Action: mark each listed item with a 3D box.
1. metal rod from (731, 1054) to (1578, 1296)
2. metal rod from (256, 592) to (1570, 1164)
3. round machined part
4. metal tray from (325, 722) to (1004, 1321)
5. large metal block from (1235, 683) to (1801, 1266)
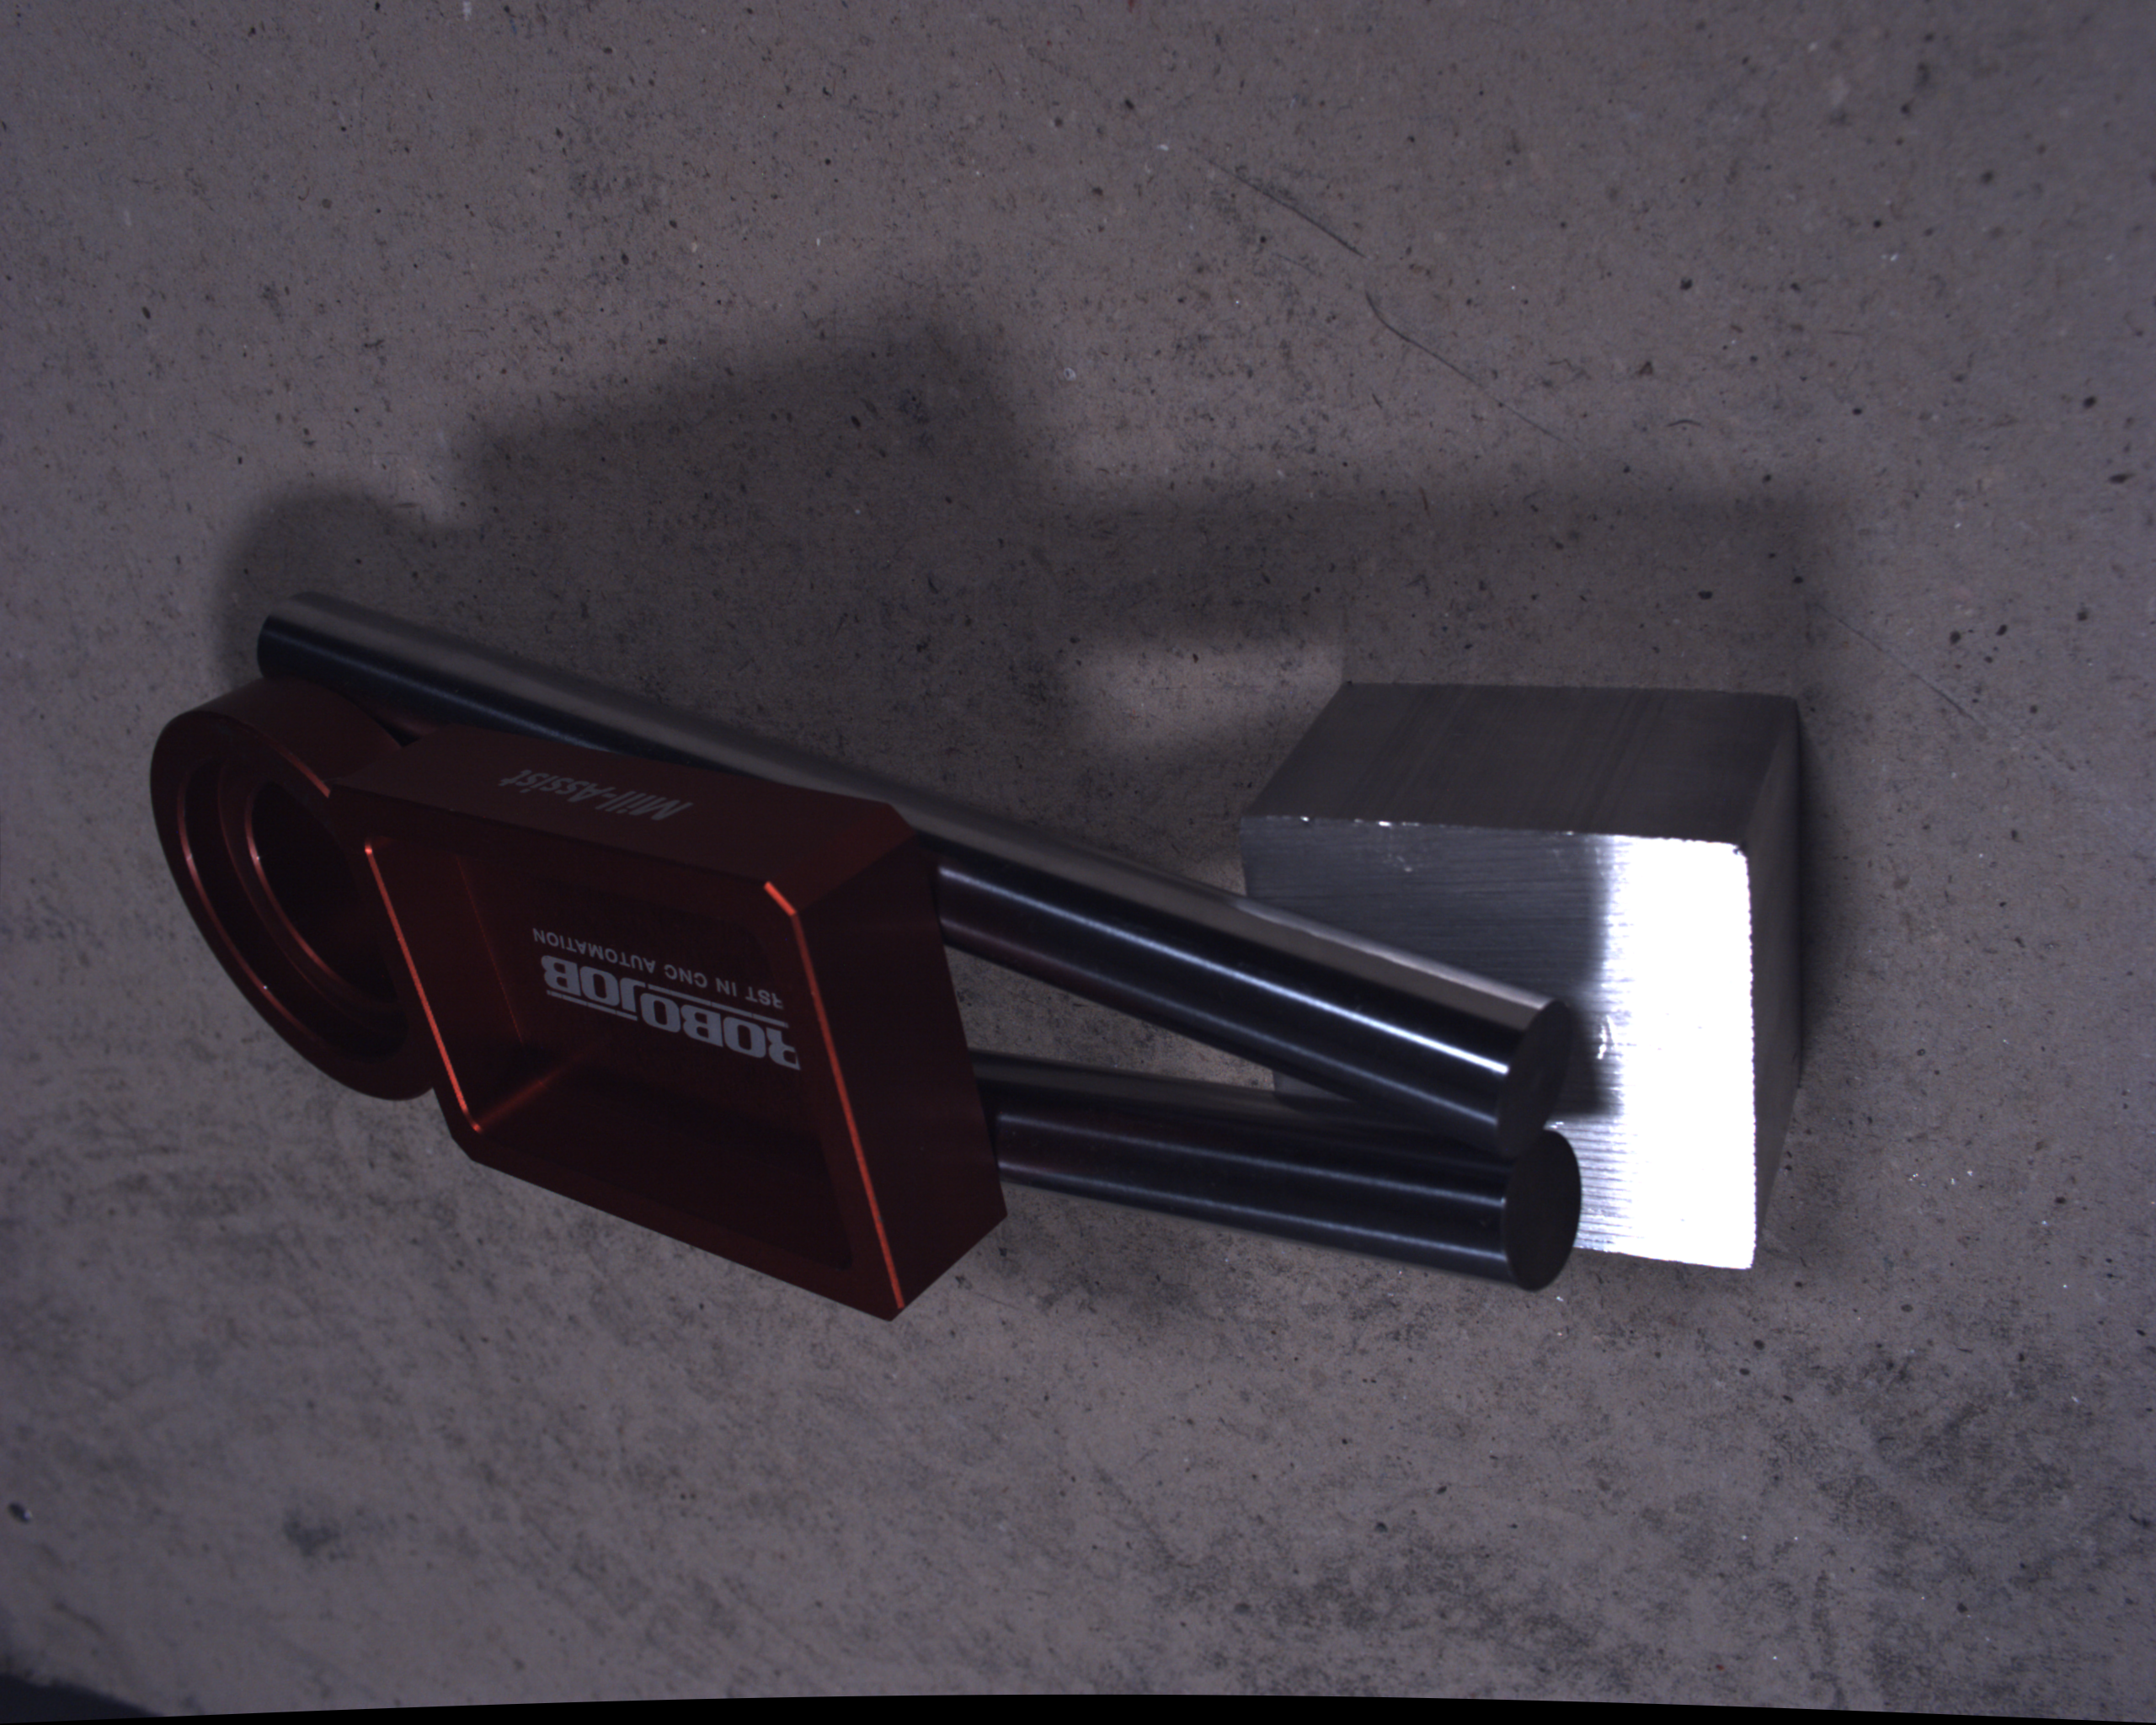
[{"bbox_3d":[-0.043,0.047,0.417,0.300,0.025,0.025,3,121,41],"label":"metal rod"},{"bbox_3d":[-0.053,-0.008,0.388,0.300,0.025,0.025,19,127,32],"label":"metal rod"},{"bbox_3d":[-0.161,0.001,0.473,0.098,0.042,0.097,21,129,28],"label":"round machined part"},{"bbox_3d":[-0.080,0.026,0.395,0.130,0.030,0.089,11,124,37],"label":"metal tray"},{"bbox_3d":[0.078,0.017,0.358,0.080,0.050,0.079,4,120,26],"label":"large metal block"}]
